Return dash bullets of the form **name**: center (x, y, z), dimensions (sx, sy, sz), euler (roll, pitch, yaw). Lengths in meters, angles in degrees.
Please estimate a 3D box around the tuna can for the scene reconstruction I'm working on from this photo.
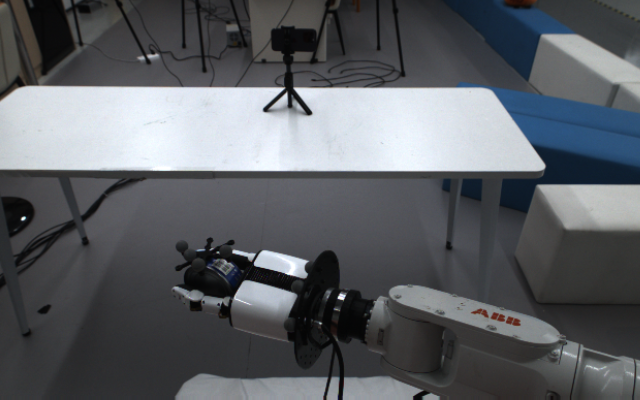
- **tuna can**: center (-0.147, 0.118, 0.689), dimensions (0.085, 0.085, 0.034), euler (17, 36, 20)
